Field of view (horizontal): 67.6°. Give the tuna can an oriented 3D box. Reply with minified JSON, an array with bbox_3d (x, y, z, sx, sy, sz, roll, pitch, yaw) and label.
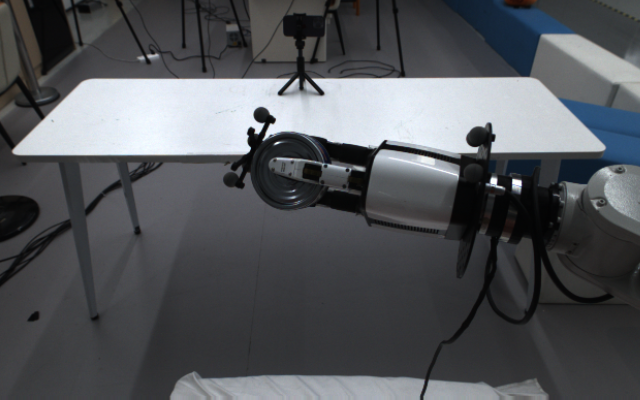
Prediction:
[{"bbox_3d":[-0.030,-0.033,0.529,0.085,0.085,0.034,10,4,11],"label":"tuna can"}]
